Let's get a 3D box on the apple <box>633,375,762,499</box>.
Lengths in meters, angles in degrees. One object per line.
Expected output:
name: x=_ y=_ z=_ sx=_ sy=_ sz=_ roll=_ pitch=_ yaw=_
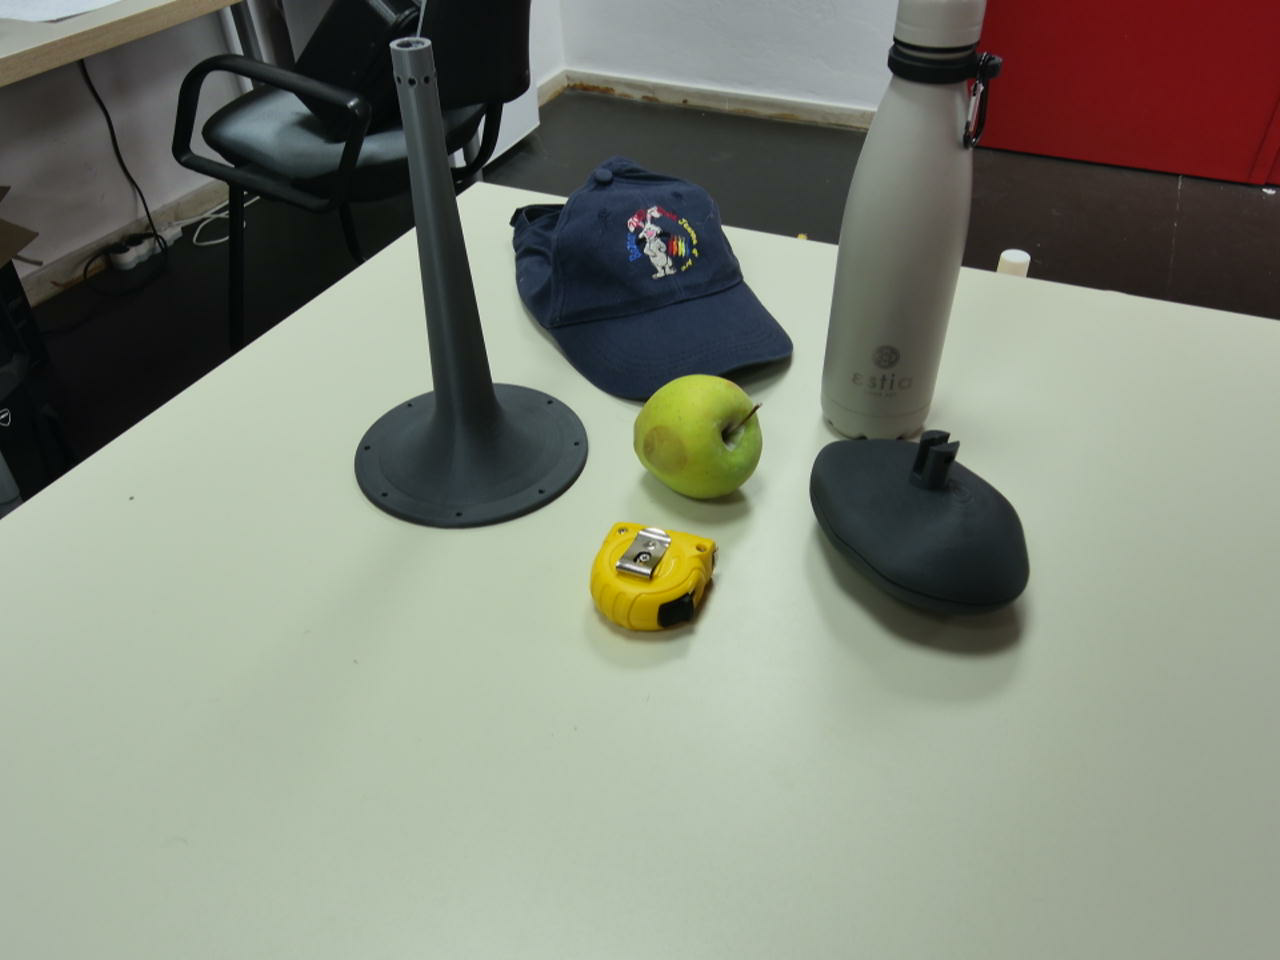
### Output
apple: x=0.036 y=-0.028 z=0.598 sx=0.072 sy=0.075 sz=0.077 roll=-13 pitch=40 yaw=-16
